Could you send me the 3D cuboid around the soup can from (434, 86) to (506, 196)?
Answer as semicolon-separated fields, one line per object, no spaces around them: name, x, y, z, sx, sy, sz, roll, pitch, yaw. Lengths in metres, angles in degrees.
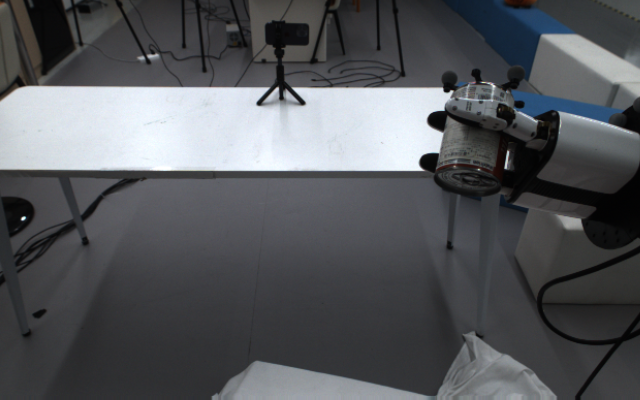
soup can;0.164;-0.065;0.510;0.067;0.067;0.101;11;72;13
